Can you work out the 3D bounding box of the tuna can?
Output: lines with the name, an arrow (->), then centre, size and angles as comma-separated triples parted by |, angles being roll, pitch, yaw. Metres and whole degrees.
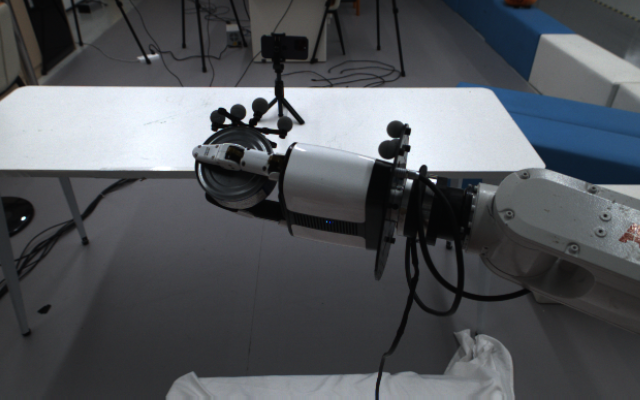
tuna can -> -0.087, -0.035, 0.525 | 0.085, 0.034, 0.085 | -3, 69, 8
